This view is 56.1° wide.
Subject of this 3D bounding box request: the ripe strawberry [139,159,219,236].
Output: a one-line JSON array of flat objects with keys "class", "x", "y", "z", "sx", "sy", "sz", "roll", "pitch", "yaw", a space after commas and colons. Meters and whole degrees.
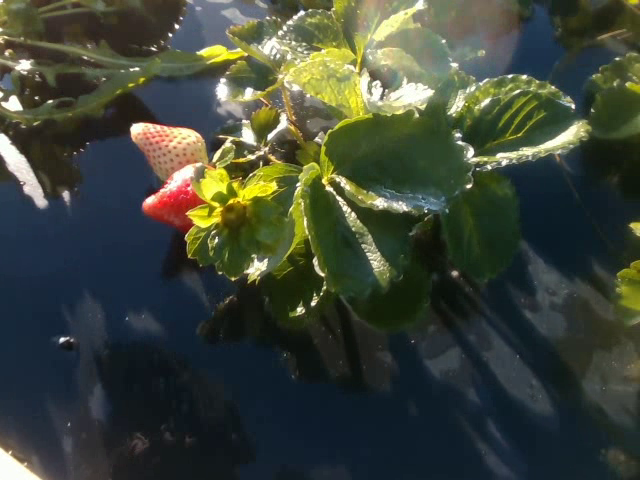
[{"class": "ripe strawberry", "x": -0.066, "y": -0.020, "z": 0.286, "sx": 0.040, "sy": 0.038, "sz": 0.055, "roll": 14, "pitch": 3, "yaw": 38}]
